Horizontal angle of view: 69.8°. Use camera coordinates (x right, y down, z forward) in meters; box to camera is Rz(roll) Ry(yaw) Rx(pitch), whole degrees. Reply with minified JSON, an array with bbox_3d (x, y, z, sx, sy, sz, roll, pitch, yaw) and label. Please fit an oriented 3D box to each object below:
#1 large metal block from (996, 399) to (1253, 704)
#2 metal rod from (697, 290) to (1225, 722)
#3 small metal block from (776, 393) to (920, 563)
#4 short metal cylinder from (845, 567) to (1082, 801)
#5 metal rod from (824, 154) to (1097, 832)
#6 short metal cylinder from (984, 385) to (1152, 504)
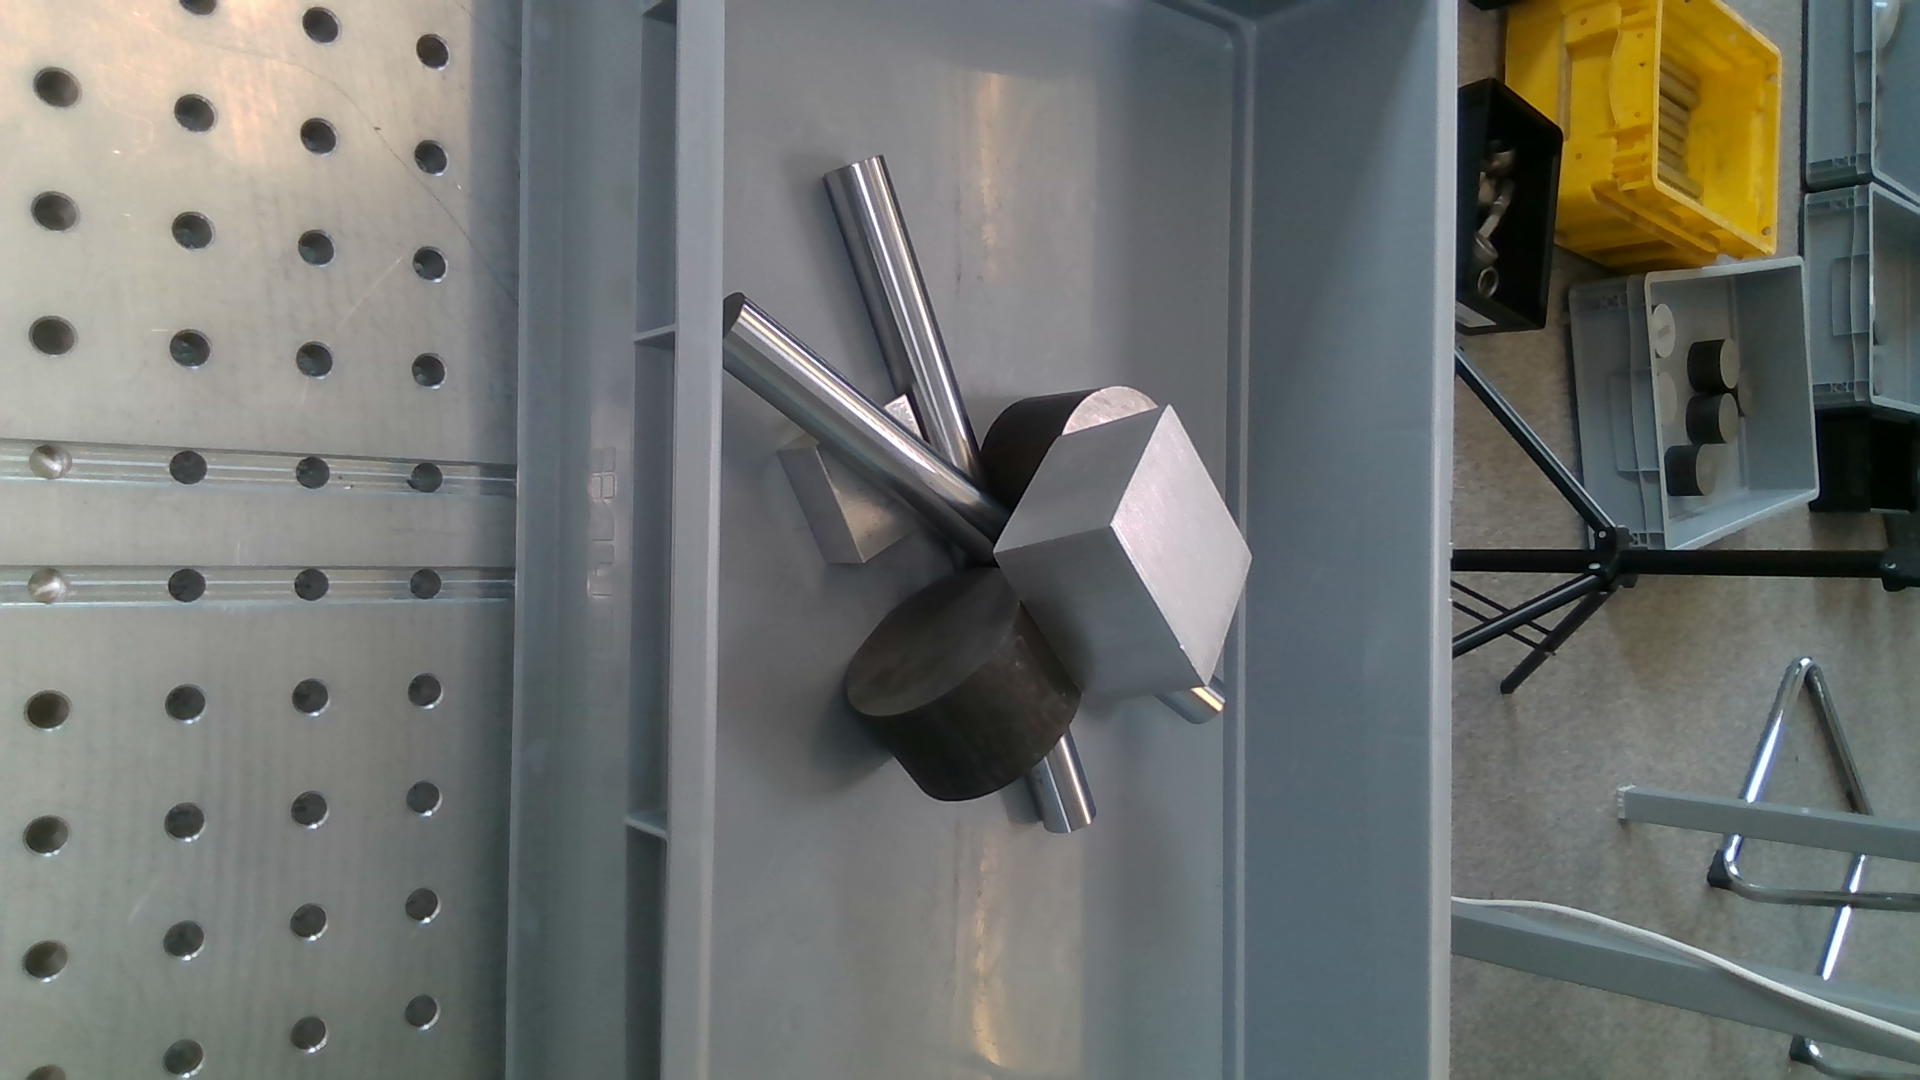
[{"bbox_3d":[0.068,0.005,0.540,0.080,0.050,0.080,57,40,-24],"label":"large metal block"},{"bbox_3d":[0.015,-0.001,0.563,0.301,0.025,0.025,37,67,-34],"label":"metal rod"},{"bbox_3d":[-0.038,-0.025,0.550,0.050,0.025,0.050,-35,112,-35],"label":"small metal block"},{"bbox_3d":[0.001,0.057,0.548,0.080,0.080,0.050,-51,119,-28],"label":"short metal cylinder"},{"bbox_3d":[0.004,-0.012,0.585,0.025,0.025,0.300,-30,109,-36],"label":"metal rod"},{"bbox_3d":[0.054,-0.026,0.611,0.080,0.050,0.080,0,90,-40],"label":"short metal cylinder"}]
